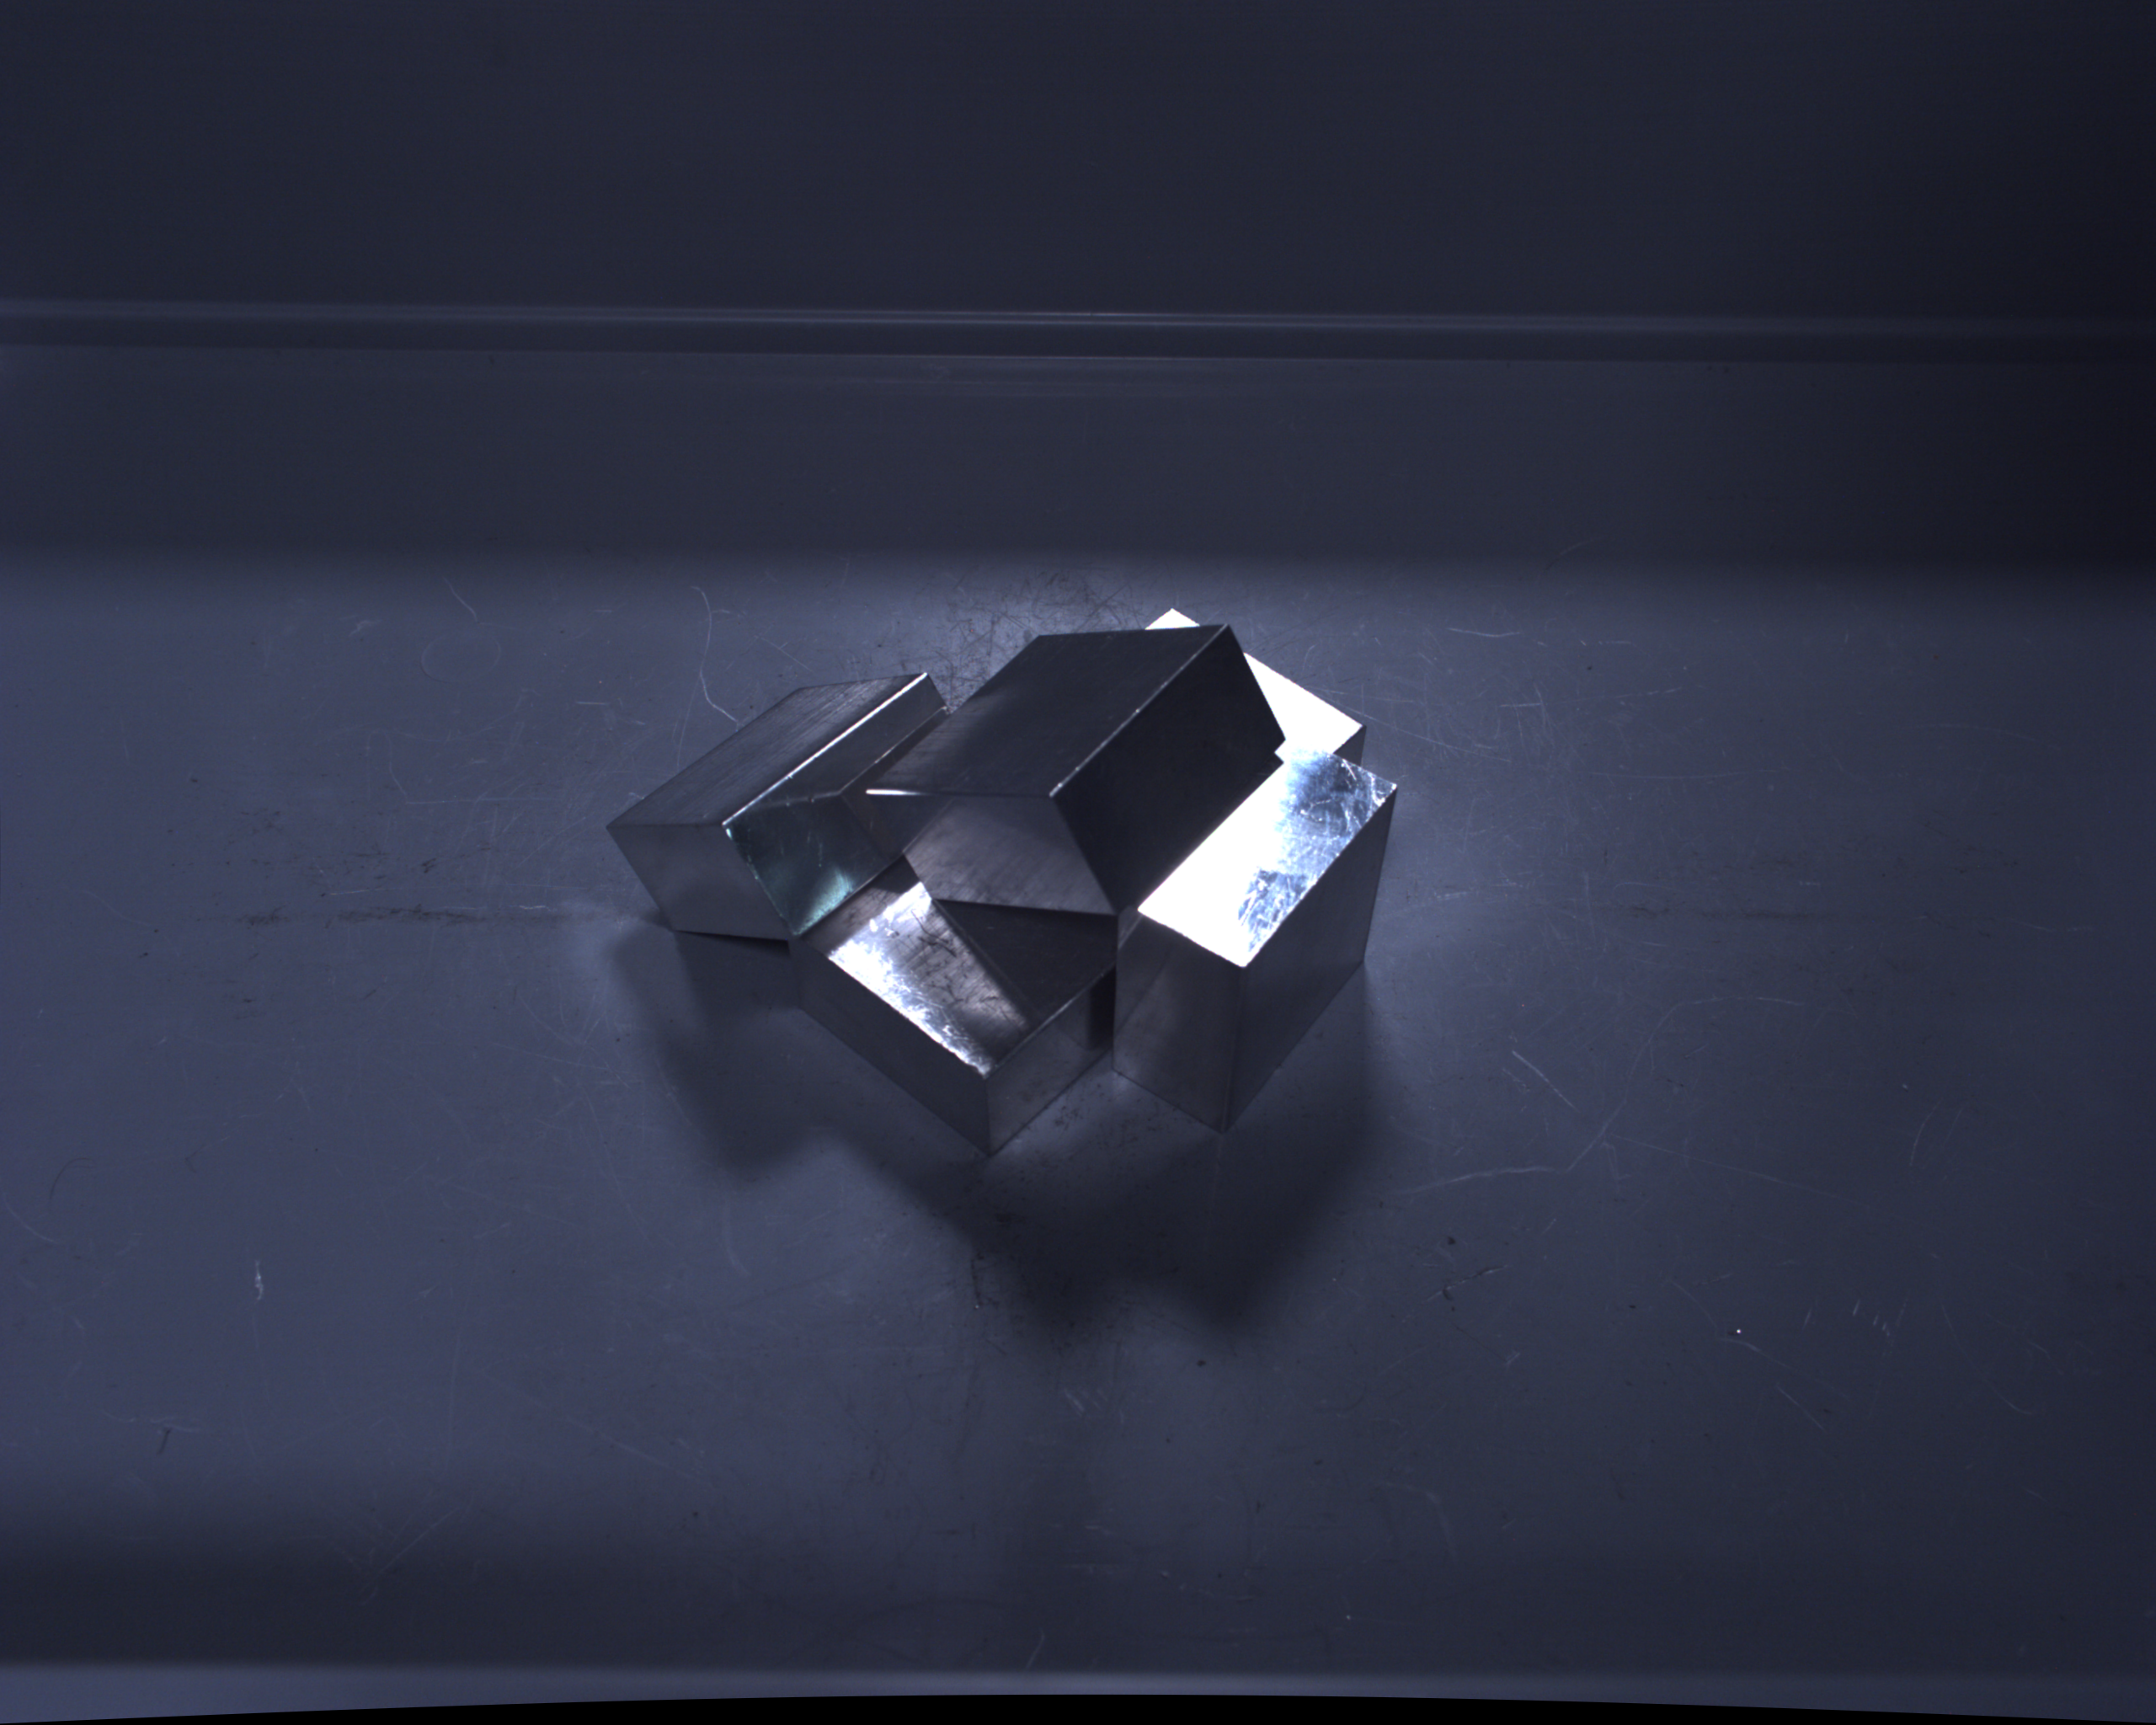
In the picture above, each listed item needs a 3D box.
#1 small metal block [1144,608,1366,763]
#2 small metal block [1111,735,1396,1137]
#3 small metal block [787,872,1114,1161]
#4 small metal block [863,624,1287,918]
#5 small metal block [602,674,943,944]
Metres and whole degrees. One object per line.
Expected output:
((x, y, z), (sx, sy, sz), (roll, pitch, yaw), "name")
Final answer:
((0.021, -0.018, 0.418), (0.050, 0.025, 0.050), (35, 58, 25), "small metal block")
((0.031, 0.013, 0.376), (0.025, 0.050, 0.050), (29, 56, 21), "small metal block")
((-0.018, 0.019, 0.387), (0.050, 0.025, 0.050), (35, 58, 25), "small metal block")
((-0.001, -0.017, 0.369), (0.050, 0.025, 0.050), (3, 40, 48), "small metal block")
((-0.054, -0.010, 0.395), (0.050, 0.025, 0.050), (-41, 23, -28), "small metal block")
